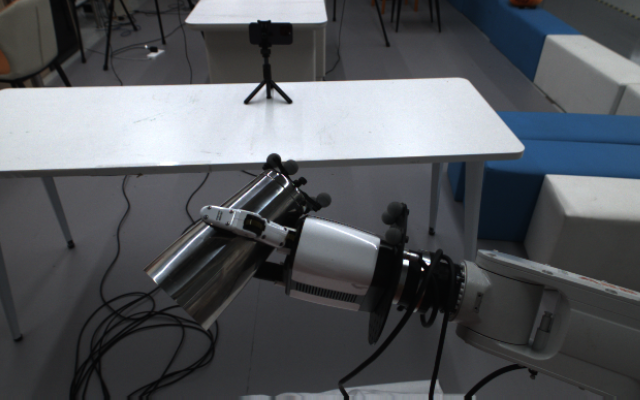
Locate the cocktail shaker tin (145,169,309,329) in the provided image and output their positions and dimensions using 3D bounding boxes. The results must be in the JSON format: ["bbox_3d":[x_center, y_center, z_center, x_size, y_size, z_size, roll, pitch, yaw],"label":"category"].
[{"bbox_3d":[-0.094,0.042,0.525,0.093,0.093,0.170,32,65,35],"label":"cocktail shaker tin"}]
